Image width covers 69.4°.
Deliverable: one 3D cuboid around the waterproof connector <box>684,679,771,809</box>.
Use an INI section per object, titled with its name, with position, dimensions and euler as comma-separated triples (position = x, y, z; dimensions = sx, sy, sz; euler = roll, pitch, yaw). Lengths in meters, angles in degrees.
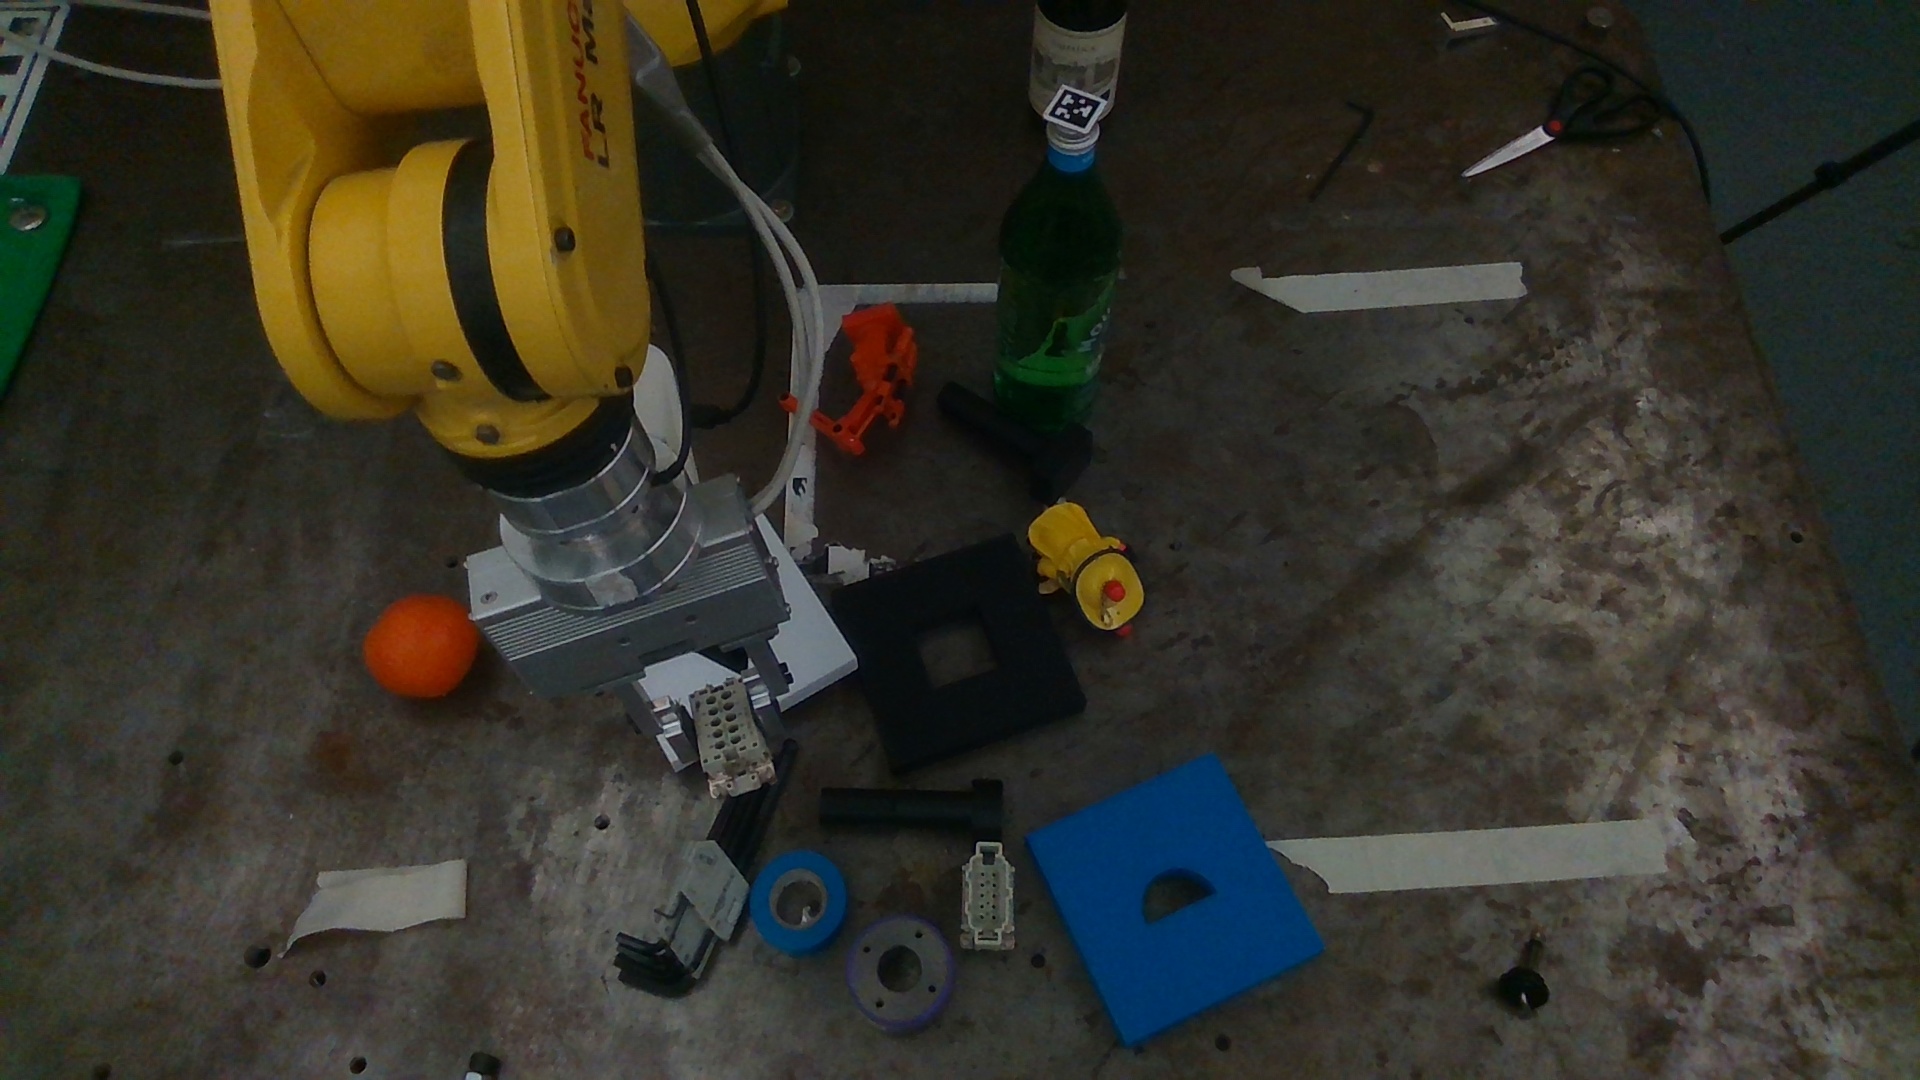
[waterproof connector]
position = -0.124, 0.108, 0.749
dimensions = 0.037, 0.038, 0.069
euler = -18, 54, 0
